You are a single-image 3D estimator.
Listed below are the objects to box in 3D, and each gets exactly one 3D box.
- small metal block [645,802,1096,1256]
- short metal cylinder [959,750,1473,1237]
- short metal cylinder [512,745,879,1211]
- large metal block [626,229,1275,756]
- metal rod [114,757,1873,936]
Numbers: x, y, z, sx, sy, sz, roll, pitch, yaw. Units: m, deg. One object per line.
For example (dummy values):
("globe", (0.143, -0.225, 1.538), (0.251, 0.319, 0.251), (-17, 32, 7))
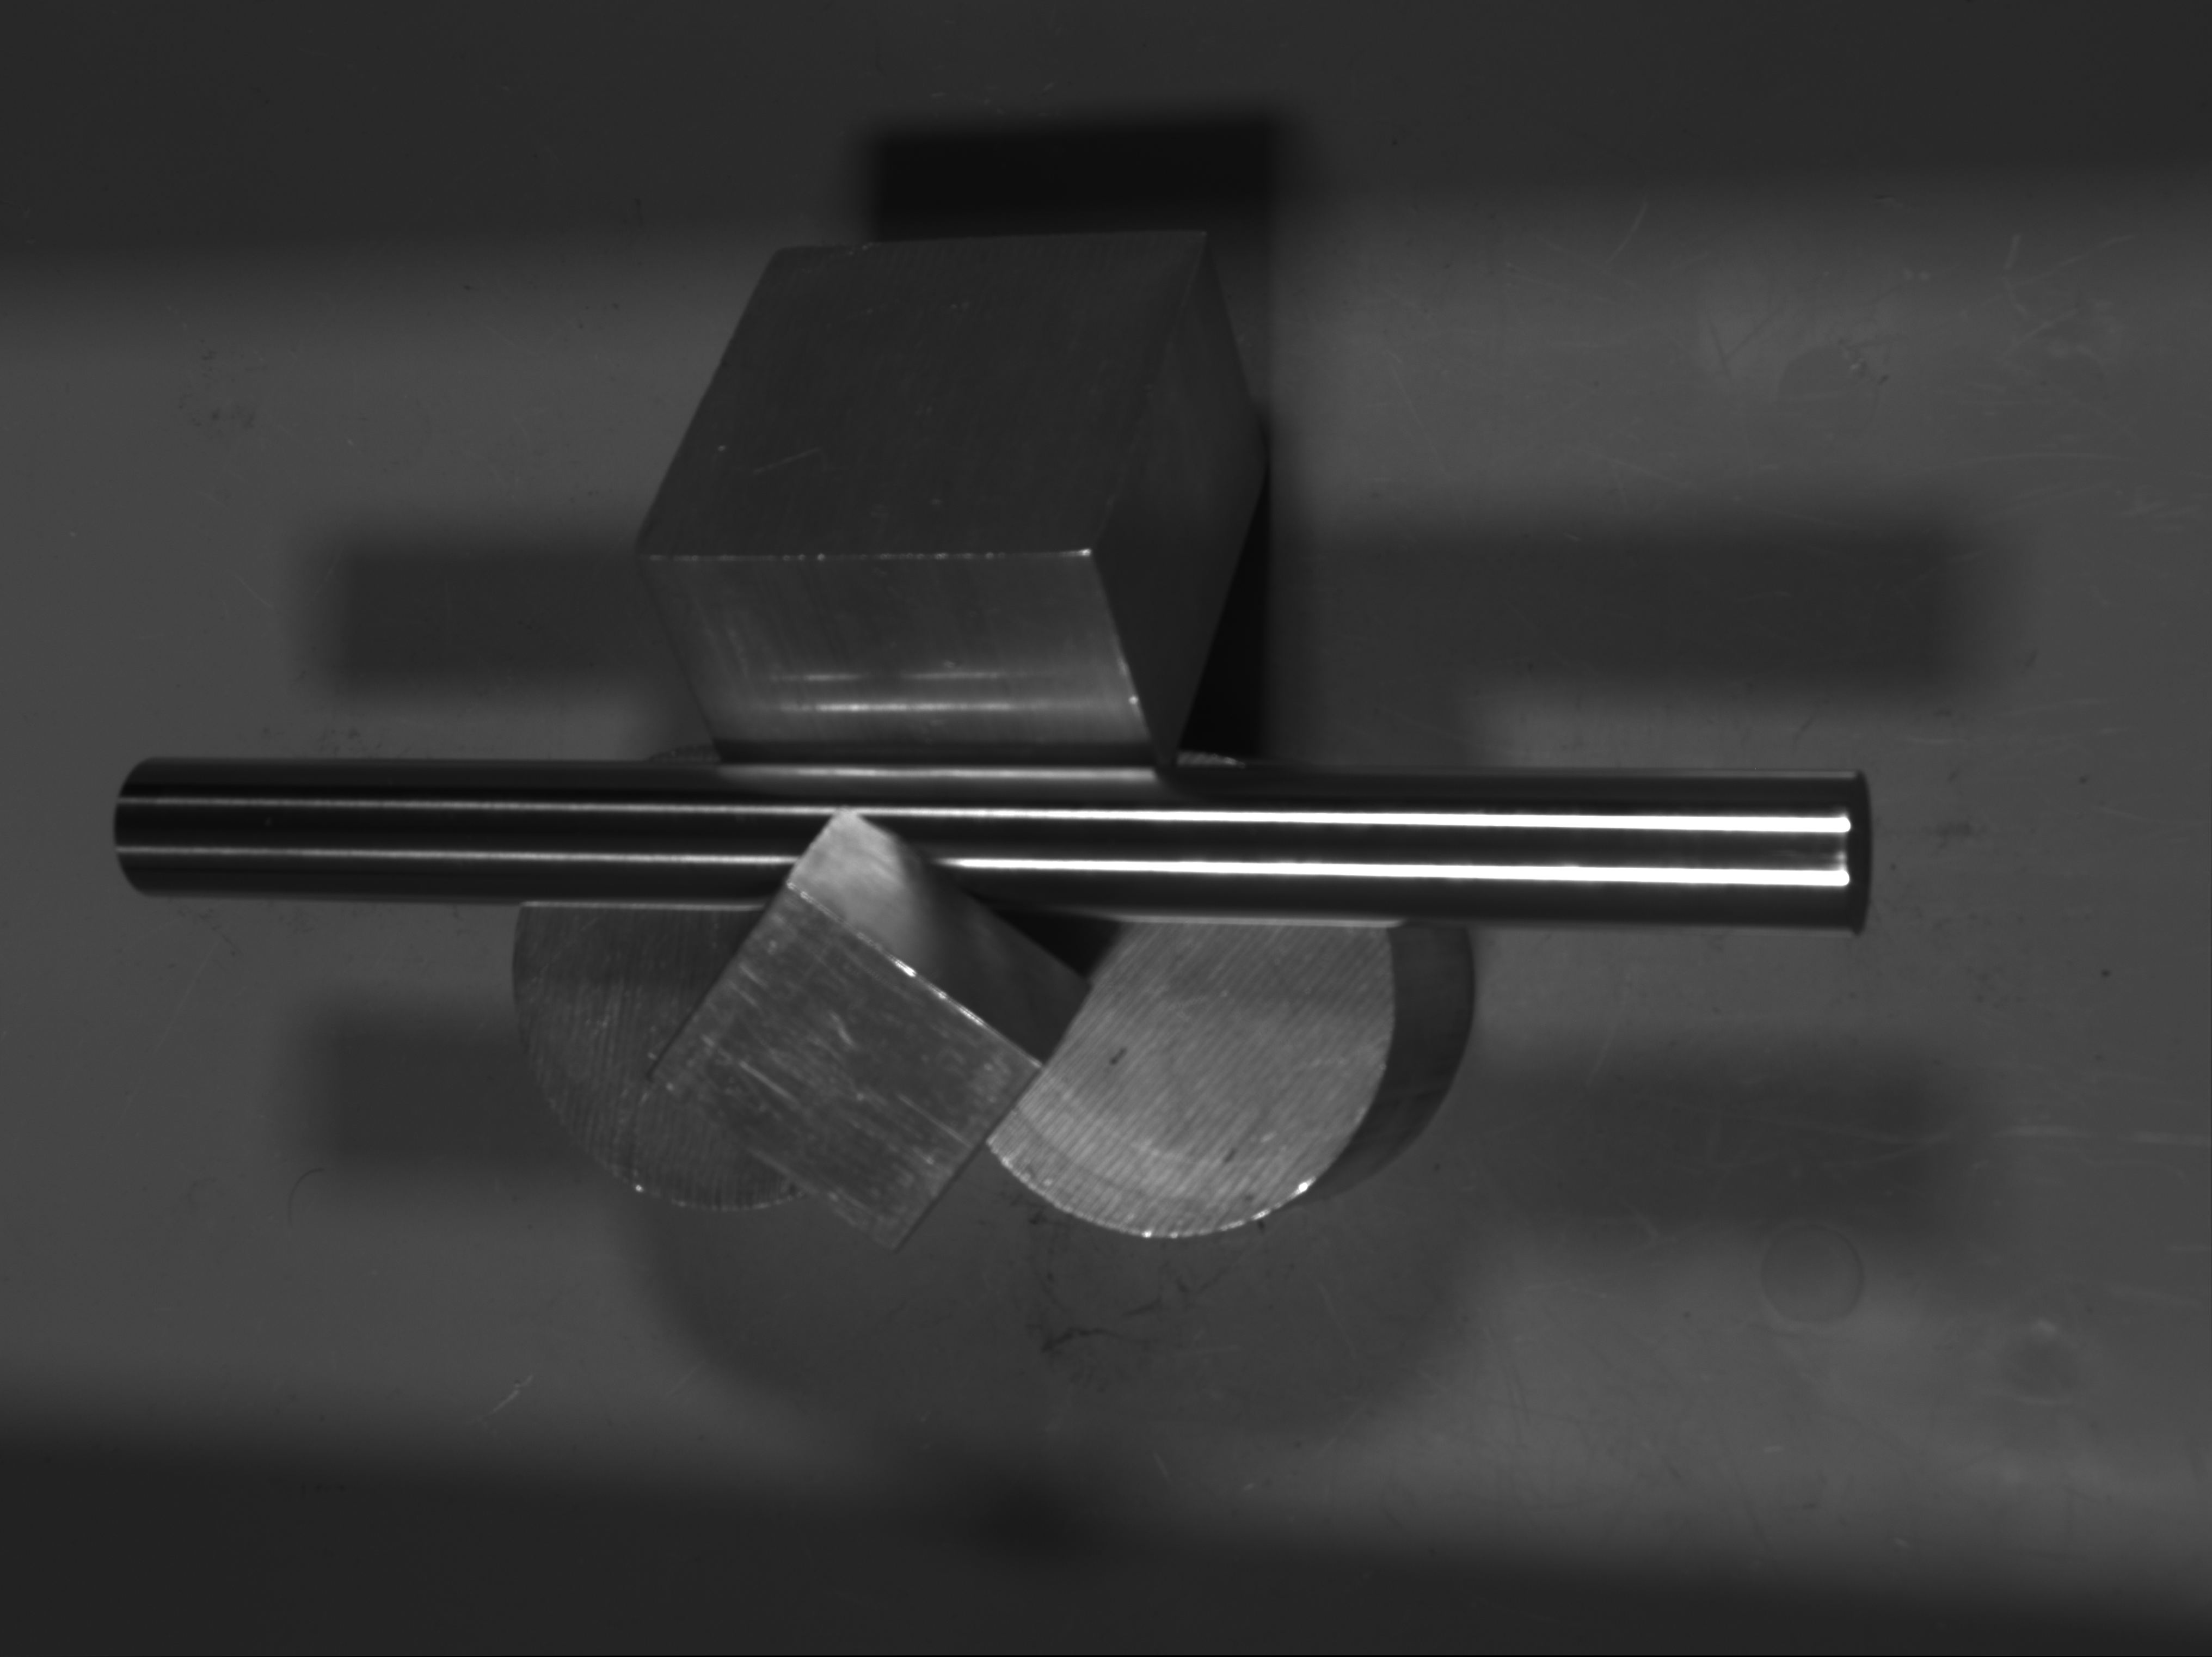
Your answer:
("small metal block", (-0.038, 0.033, 0.592), (0.050, 0.025, 0.050), (36, 124, -2))
("short metal cylinder", (0.017, 0.027, 0.624), (0.080, 0.050, 0.080), (0, 90, 20))
("short metal cylinder", (-0.058, 0.026, 0.651), (0.080, 0.050, 0.080), (0, 90, 20))
("large metal block", (-0.024, -0.055, 0.617), (0.080, 0.050, 0.080), (1, 47, 20))
("metal rod", (-0.028, 0.002, 0.600), (0.299, 0.025, 0.025), (1, 90, 20))
